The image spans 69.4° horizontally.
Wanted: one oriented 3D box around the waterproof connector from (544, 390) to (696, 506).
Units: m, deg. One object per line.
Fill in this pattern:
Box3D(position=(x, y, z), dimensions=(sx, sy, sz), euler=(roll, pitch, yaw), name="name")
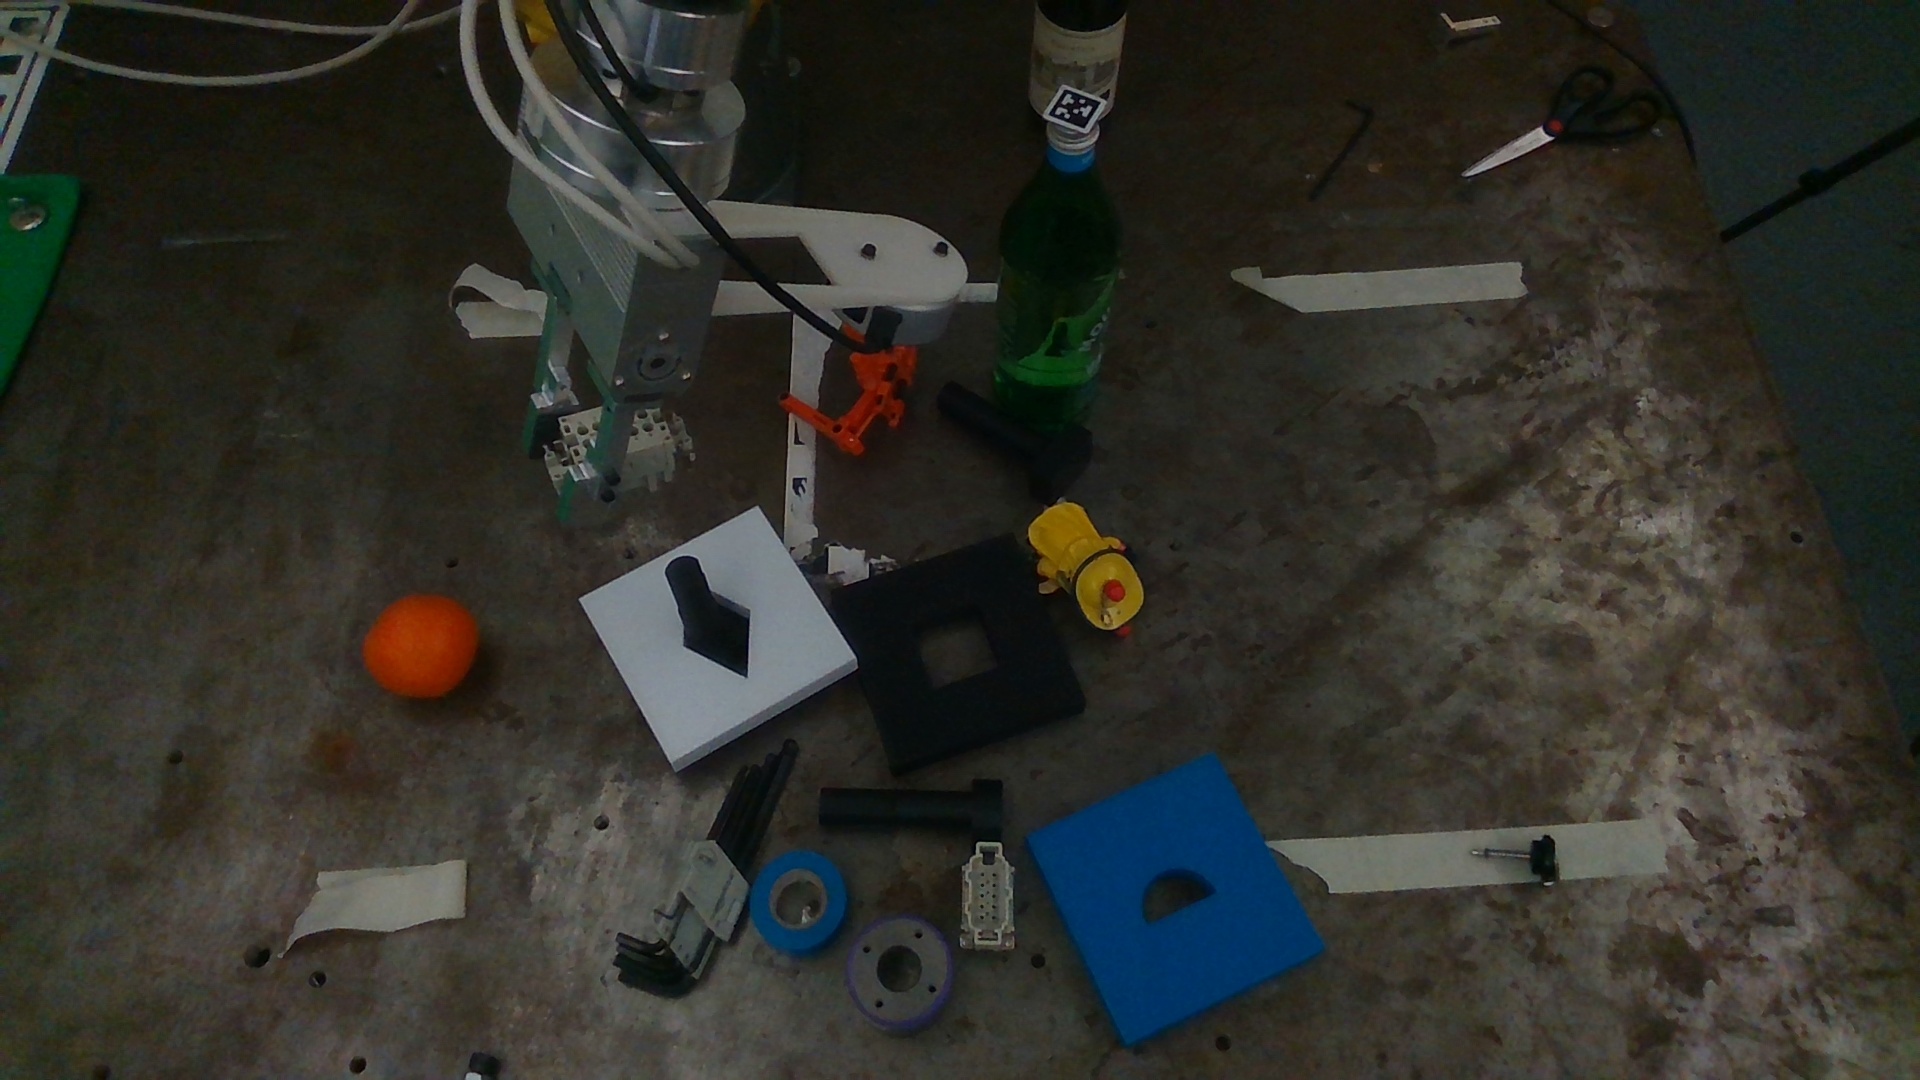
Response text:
Box3D(position=(-0.166, -0.044, 0.677), dimensions=(0.069, 0.038, 0.037), euler=(-21, 58, -19), name="waterproof connector")
